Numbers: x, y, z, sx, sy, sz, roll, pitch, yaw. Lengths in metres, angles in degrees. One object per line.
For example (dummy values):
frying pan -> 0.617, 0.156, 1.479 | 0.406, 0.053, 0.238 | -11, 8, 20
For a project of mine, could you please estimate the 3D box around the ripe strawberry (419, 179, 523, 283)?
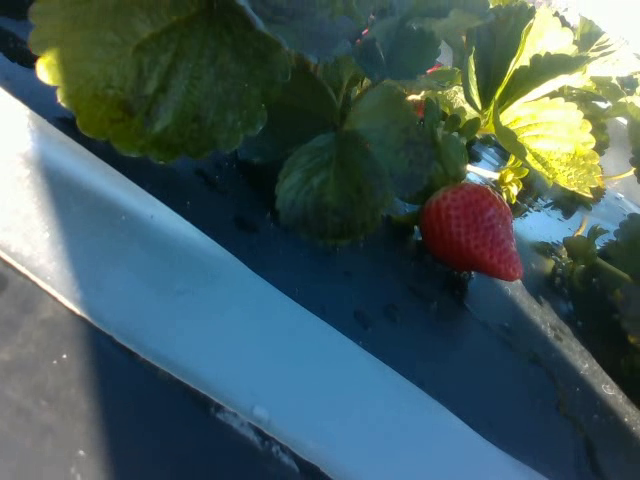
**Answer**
ripe strawberry -> 0.067, -0.001, 0.238 | 0.045, 0.059, 0.042 | -18, -35, -6
